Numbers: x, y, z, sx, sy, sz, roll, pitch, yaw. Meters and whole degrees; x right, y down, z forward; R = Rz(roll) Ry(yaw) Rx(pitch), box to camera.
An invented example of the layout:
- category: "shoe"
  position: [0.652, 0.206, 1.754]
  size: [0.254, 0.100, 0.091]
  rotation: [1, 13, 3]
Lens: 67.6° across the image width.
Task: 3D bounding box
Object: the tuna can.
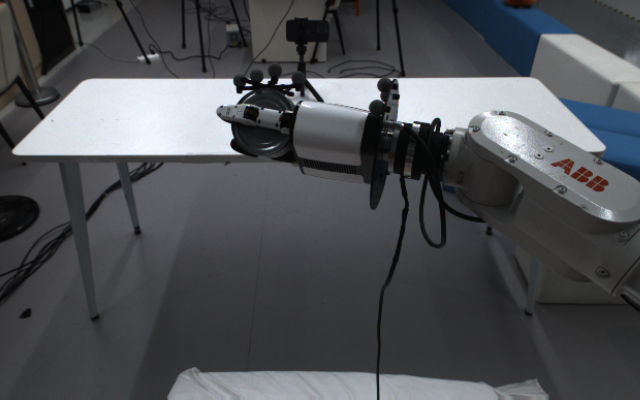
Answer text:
- category: "tuna can"
  position: [-0.067, -0.097, 0.624]
  size: [0.085, 0.085, 0.034]
  rotation: [12, -1, 14]
